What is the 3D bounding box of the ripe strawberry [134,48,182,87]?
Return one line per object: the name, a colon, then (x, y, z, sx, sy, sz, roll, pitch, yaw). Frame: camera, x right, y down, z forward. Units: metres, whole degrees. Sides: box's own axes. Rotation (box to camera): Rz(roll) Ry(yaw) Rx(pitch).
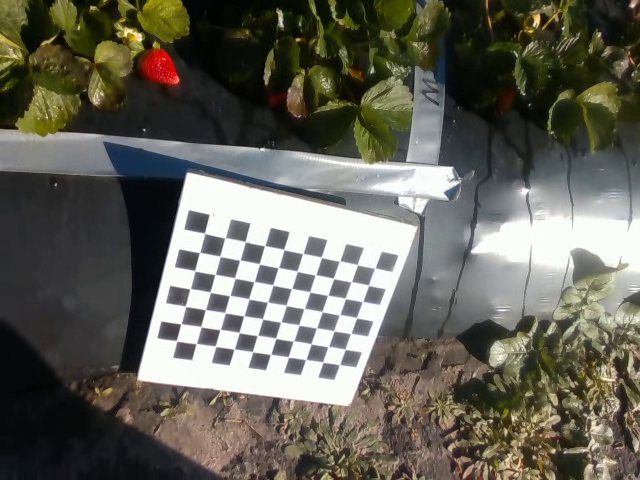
ripe strawberry: (-0.184, -0.197, 0.722, 0.058, 0.046, 0.042, 43, 6, -6)
